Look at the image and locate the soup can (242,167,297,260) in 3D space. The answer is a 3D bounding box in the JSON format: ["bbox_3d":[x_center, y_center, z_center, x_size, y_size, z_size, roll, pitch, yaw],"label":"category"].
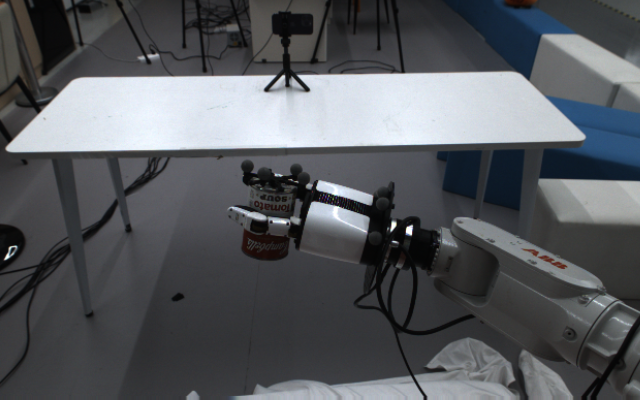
[{"bbox_3d":[-0.070,0.025,0.669,0.067,0.101,0.067,8,19,-3],"label":"soup can"}]
